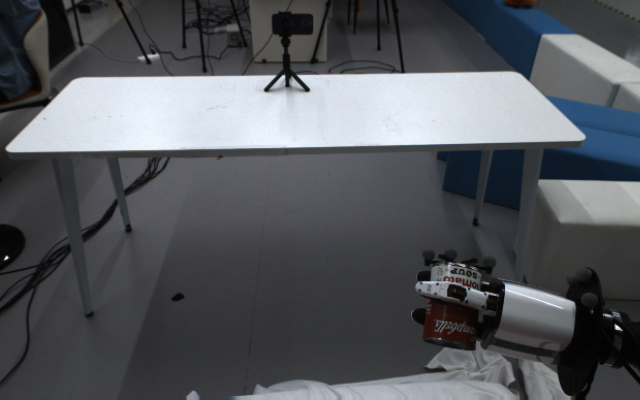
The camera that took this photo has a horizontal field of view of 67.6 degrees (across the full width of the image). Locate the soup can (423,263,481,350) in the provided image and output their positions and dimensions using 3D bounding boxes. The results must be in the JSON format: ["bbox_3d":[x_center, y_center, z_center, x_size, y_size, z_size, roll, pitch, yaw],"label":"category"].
[{"bbox_3d":[0.177,0.139,0.637,0.067,0.067,0.101,9,70,9],"label":"soup can"}]
